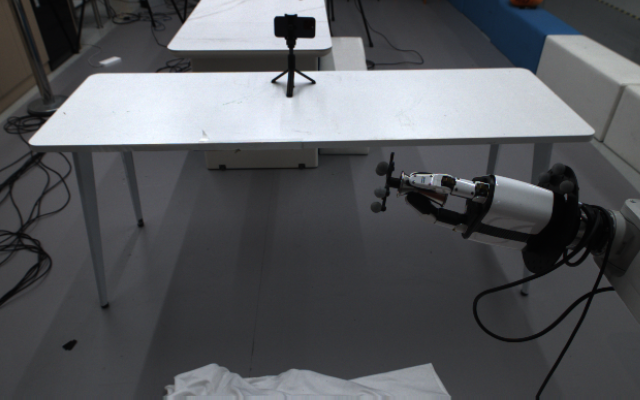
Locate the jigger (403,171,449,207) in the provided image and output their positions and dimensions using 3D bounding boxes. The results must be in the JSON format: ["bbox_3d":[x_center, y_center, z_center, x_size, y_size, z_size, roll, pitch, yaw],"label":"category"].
[{"bbox_3d":[0.155,-0.022,0.703,0.071,0.043,0.043,11,35,4],"label":"jigger"}]
